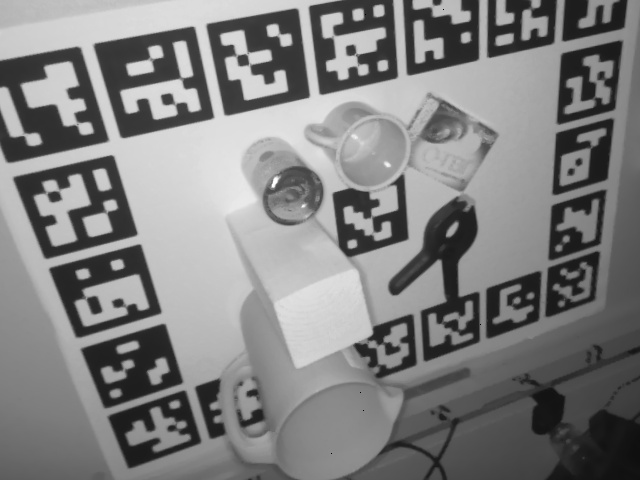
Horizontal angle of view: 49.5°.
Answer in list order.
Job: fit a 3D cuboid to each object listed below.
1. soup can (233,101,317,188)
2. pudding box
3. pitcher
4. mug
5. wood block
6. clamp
[{"bbox_3d":[-0.050,-0.105,0.739,0.068,0.102,0.067,-8,116,-17],"label":"soup can"},{"bbox_3d":[0.164,-0.143,0.846,0.115,0.038,0.089,25,101,-30],"label":"pudding box"},{"bbox_3d":[-0.056,0.118,0.770,0.191,0.242,0.132,-14,122,-17],"label":"pitcher"},{"bbox_3d":[0.033,-0.146,0.764,0.118,0.081,0.092,24,108,-30],"label":"mug"},{"bbox_3d":[-0.045,0.000,0.732,0.090,0.206,0.090,-13,120,-10],"label":"wood block"},{"bbox_3d":[0.152,-0.001,0.920,0.123,0.036,0.164,19,107,-20],"label":"clamp"}]
